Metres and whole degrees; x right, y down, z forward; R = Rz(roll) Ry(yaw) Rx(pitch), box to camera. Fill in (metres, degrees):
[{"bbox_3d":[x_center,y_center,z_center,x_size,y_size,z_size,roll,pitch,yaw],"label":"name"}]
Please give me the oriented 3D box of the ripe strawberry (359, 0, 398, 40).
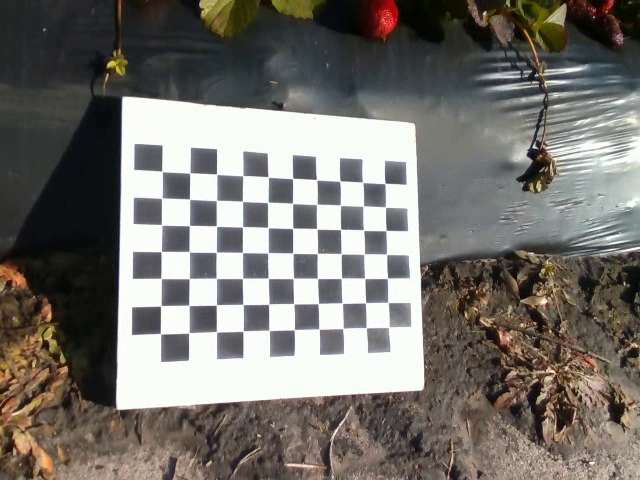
[{"bbox_3d":[0.052,-0.200,0.577,0.043,0.043,0.050,37,26,-14],"label":"ripe strawberry"}]
